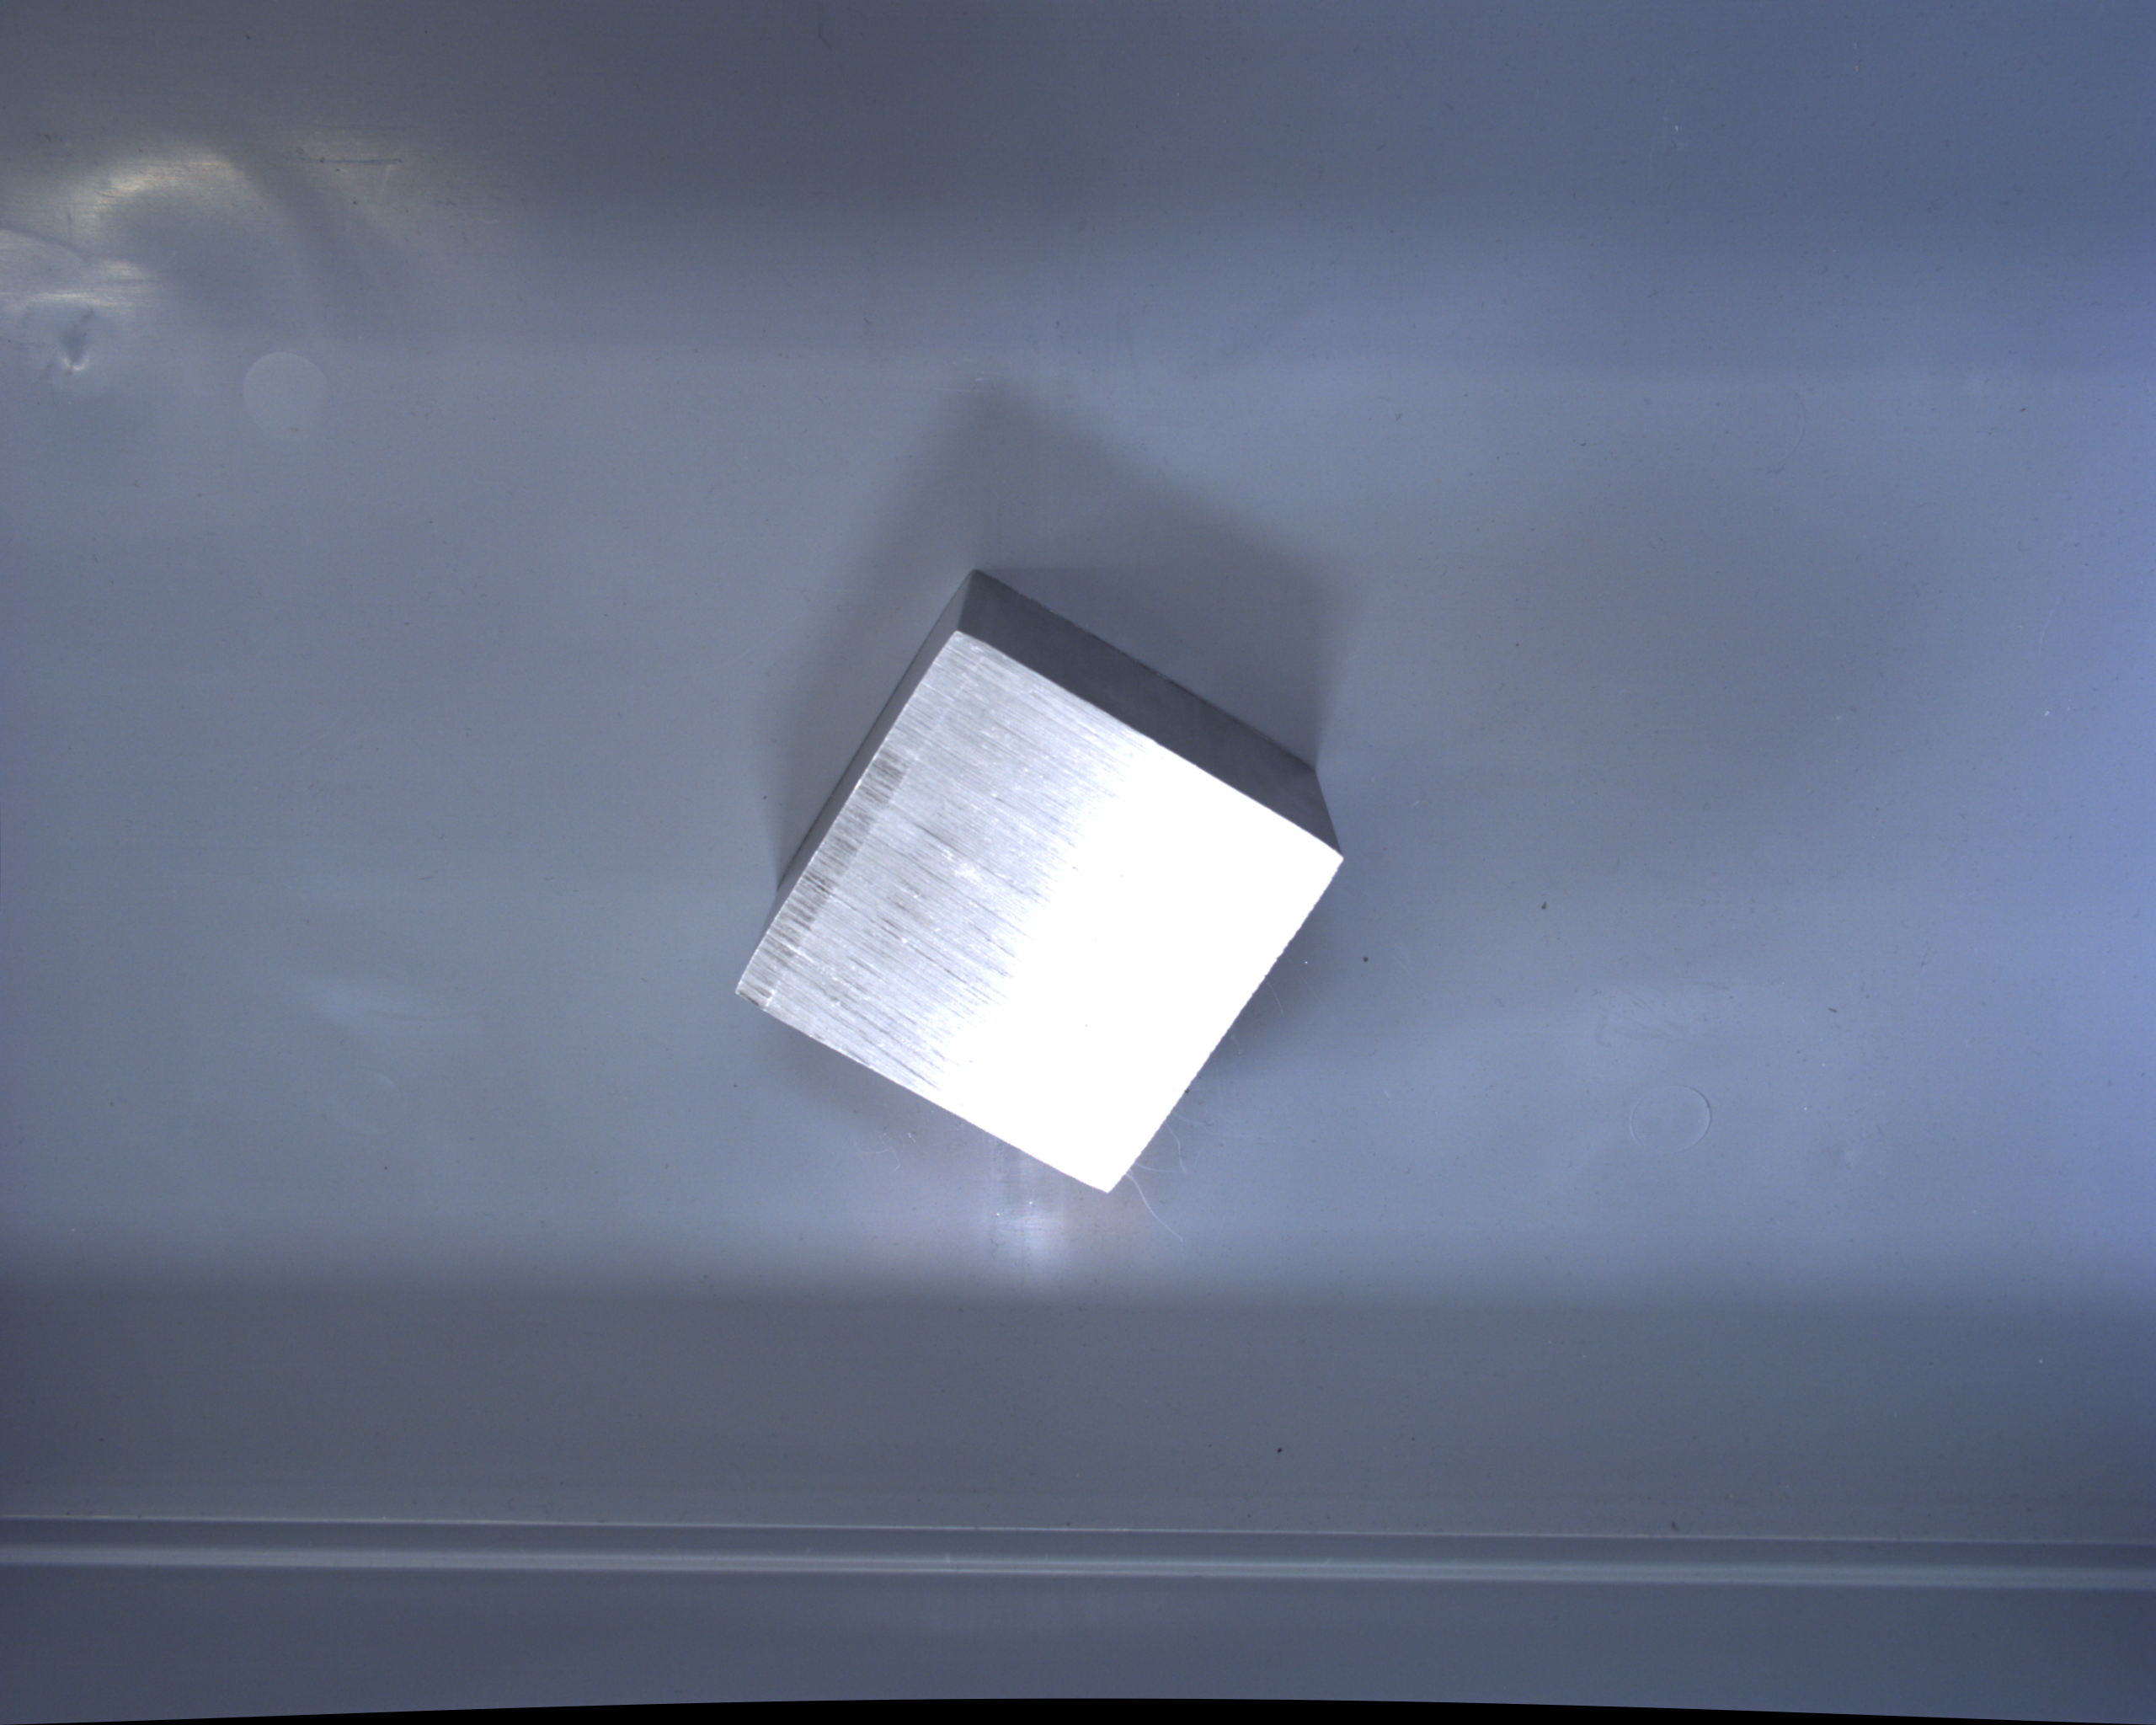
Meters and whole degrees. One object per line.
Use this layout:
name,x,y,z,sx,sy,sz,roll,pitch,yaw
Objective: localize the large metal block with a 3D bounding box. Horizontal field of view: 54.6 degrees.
large metal block,-0.008,0.003,0.395,0.080,0.050,0.080,30,107,-11
